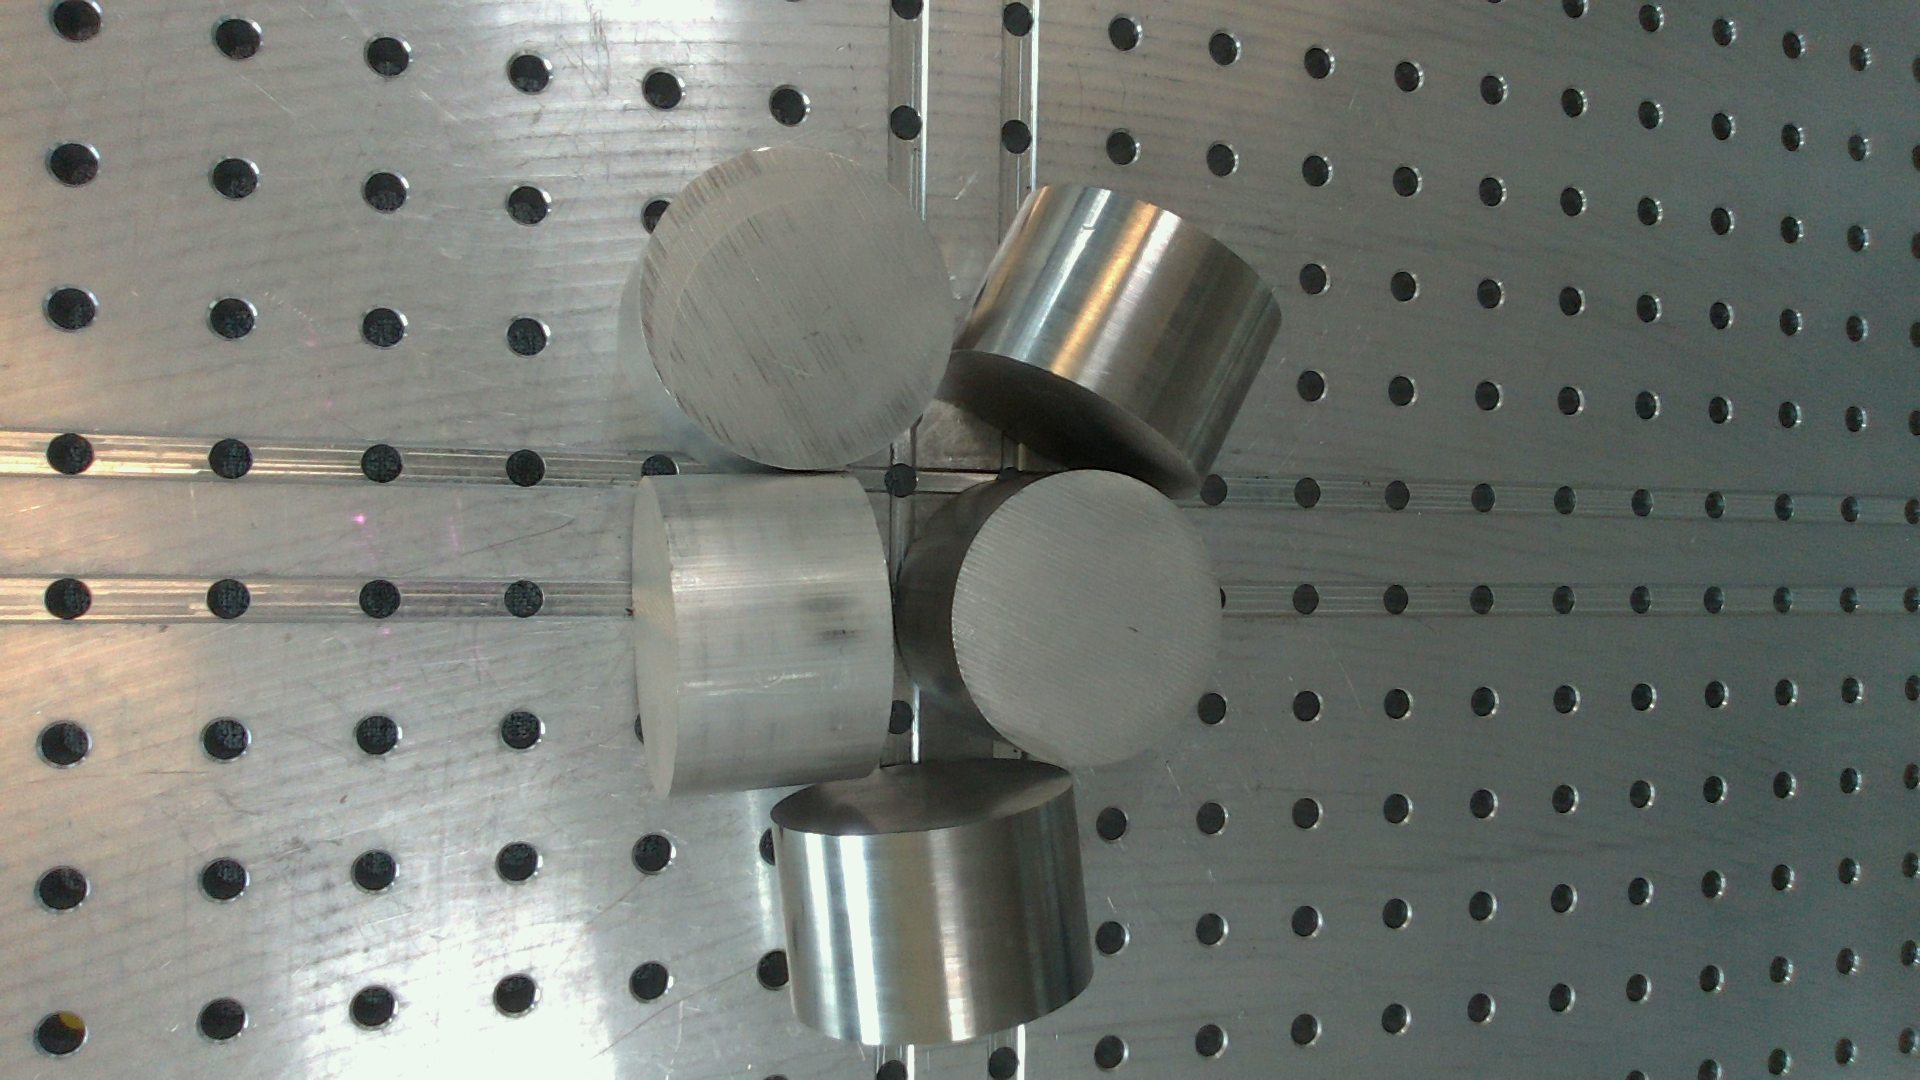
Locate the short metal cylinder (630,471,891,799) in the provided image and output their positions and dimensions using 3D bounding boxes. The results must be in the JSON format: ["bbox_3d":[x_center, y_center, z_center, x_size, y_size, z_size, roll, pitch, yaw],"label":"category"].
[{"bbox_3d":[-0.053,0.023,0.349,0.050,0.080,0.080,-3,91,-20],"label":"short metal cylinder"}]

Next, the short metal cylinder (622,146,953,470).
[{"bbox_3d":[-0.048,-0.058,0.365,0.080,0.050,0.080,0,90,-19],"label":"short metal cylinder"}]

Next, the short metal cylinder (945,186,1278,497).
[{"bbox_3d":[0.041,-0.053,0.382,0.080,0.080,0.050,30,80,-17],"label":"short metal cylinder"}]

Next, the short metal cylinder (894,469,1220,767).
[{"bbox_3d":[0.026,0.021,0.393,0.080,0.050,0.080,0,91,-20],"label":"short metal cylinder"}]

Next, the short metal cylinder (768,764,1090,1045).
[{"bbox_3d":[-0.008,0.092,0.364,0.080,0.080,0.050,-7,93,-20],"label":"short metal cylinder"}]
